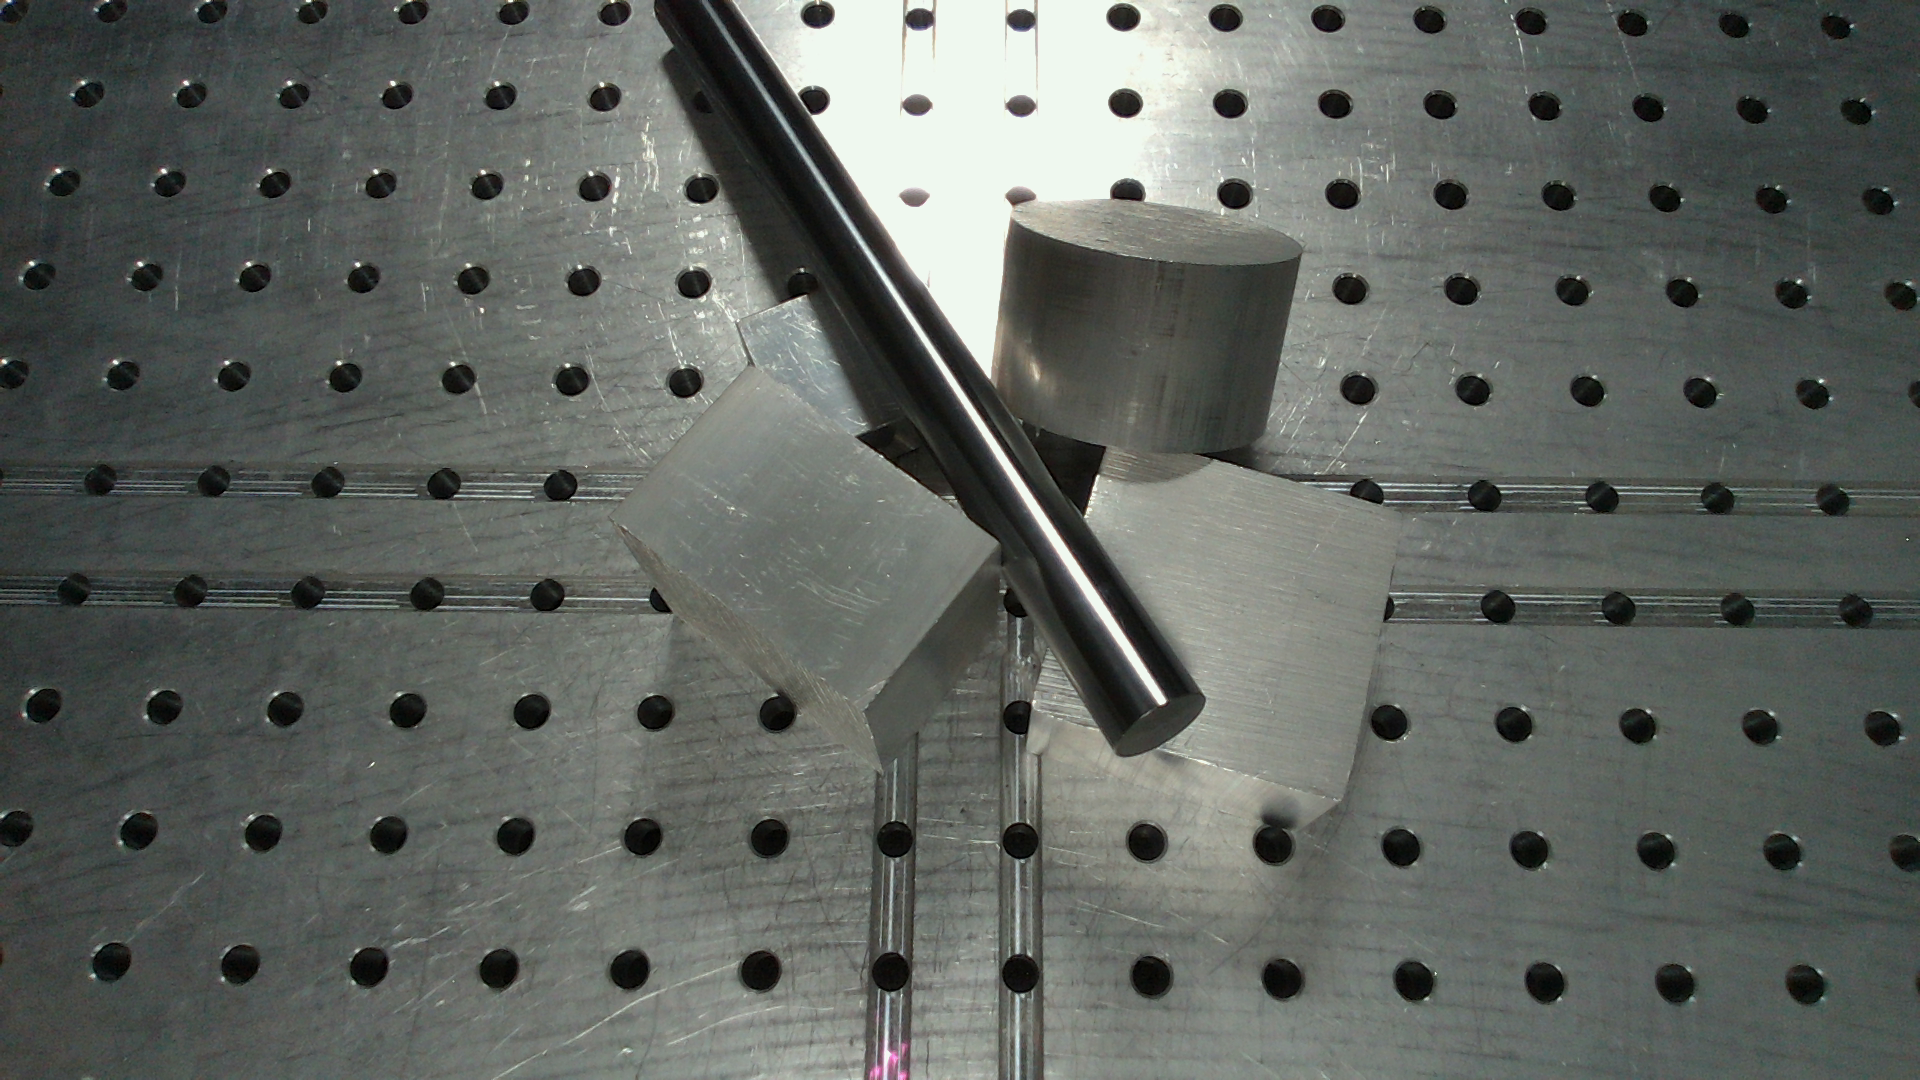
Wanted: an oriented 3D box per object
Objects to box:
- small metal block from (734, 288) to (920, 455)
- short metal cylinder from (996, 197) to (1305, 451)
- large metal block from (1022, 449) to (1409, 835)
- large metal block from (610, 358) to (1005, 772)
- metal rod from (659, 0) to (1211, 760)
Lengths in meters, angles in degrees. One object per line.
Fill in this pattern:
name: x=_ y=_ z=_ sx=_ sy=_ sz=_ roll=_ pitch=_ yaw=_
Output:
small metal block: x=-0.034 y=-0.049 z=0.415 sx=0.050 sy=0.025 sz=0.050 roll=-23 pitch=72 yaw=-8
short metal cylinder: x=0.051 y=-0.063 z=0.384 sx=0.080 sy=0.080 sz=0.050 roll=8 pitch=114 yaw=3
large metal block: x=0.067 y=0.026 z=0.374 sx=0.080 sy=0.050 sz=0.080 roll=16 pitch=71 yaw=6
large metal block: x=-0.036 y=0.010 z=0.364 sx=0.080 sy=0.080 sz=0.050 roll=35 pitch=74 yaw=12
metal rod: x=-0.021 y=-0.068 z=0.390 sx=0.025 sy=0.025 sz=0.299 roll=-26 pitch=61 yaw=-9
